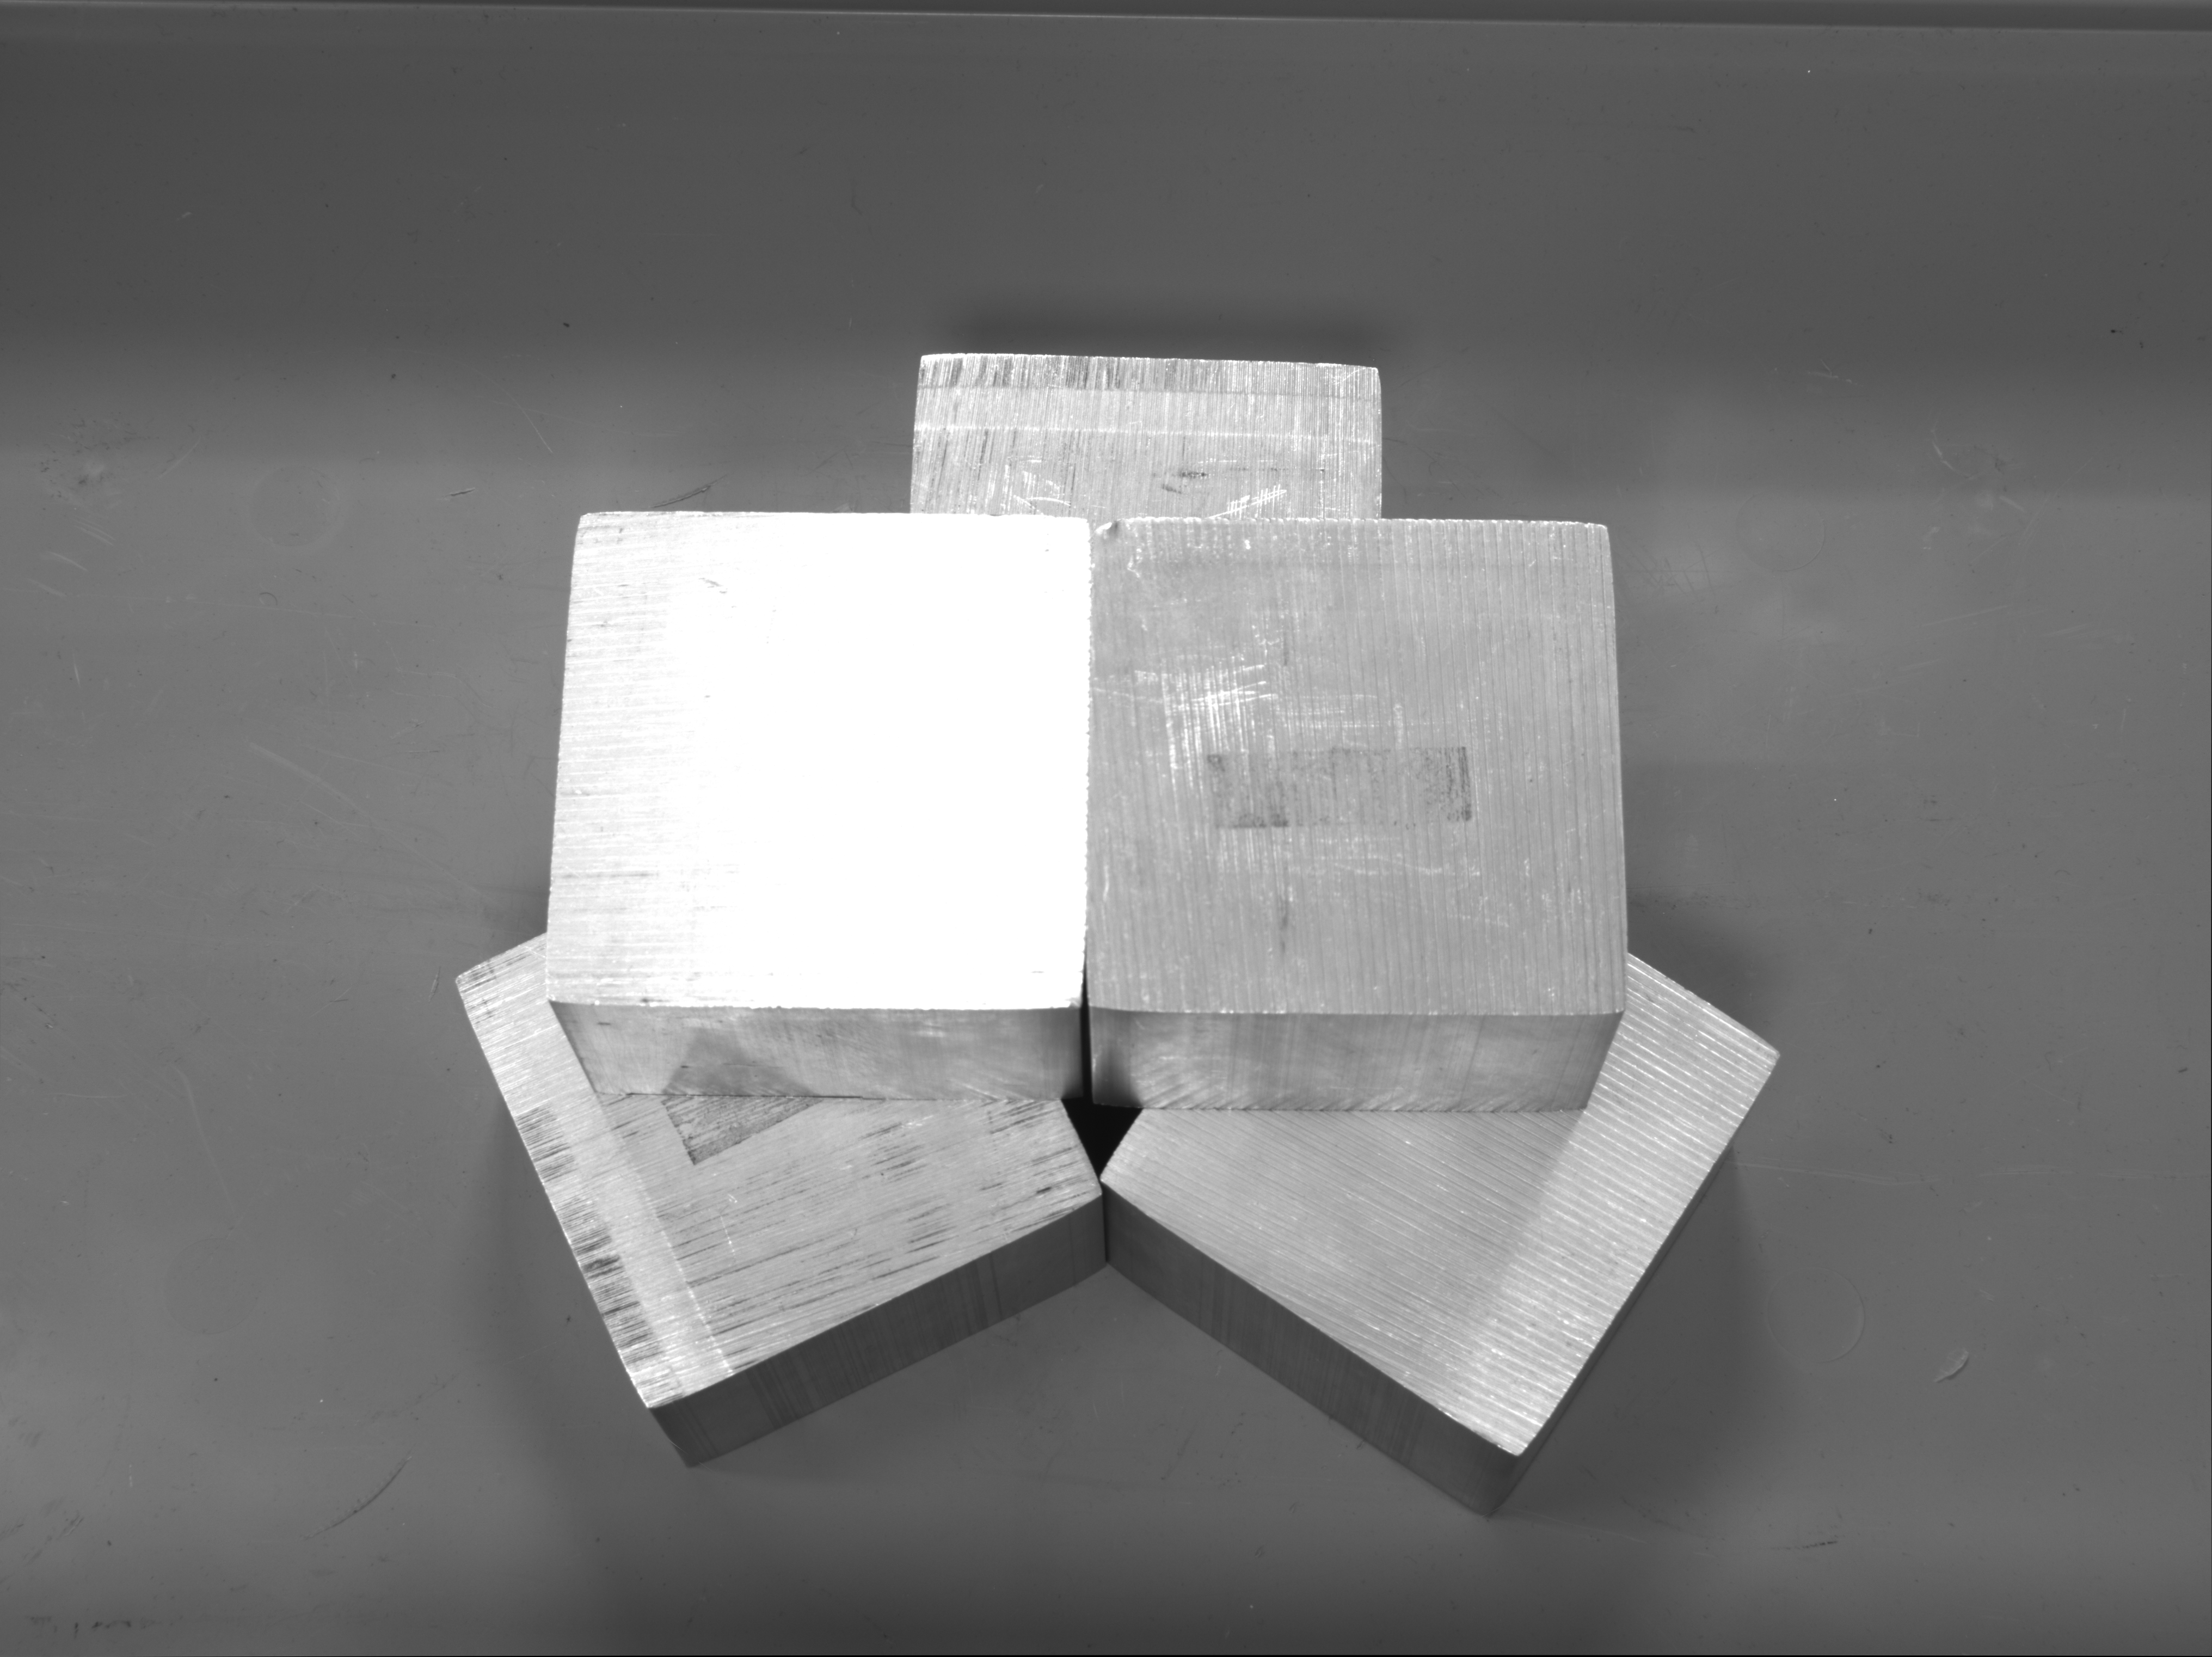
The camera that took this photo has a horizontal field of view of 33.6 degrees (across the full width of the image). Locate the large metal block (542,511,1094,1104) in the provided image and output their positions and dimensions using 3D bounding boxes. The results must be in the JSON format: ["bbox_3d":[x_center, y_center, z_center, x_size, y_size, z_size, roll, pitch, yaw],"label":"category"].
[{"bbox_3d":[-0.042,-0.003,0.578,0.080,0.050,0.080,1,70,0],"label":"large metal block"}]

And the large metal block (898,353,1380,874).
[{"bbox_3d":[0.006,-0.035,0.643,0.080,0.050,0.080,2,70,1],"label":"large metal block"}]

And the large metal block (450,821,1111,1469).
[{"bbox_3d":[-0.053,0.050,0.612,0.080,0.050,0.080,-25,72,-9],"label":"large metal block"}]

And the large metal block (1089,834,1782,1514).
[{"bbox_3d":[0.053,0.055,0.609,0.080,0.050,0.080,32,73,12],"label":"large metal block"}]

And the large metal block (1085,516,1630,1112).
[{"bbox_3d":[0.038,-0.002,0.576,0.080,0.050,0.080,1,70,0],"label":"large metal block"}]
